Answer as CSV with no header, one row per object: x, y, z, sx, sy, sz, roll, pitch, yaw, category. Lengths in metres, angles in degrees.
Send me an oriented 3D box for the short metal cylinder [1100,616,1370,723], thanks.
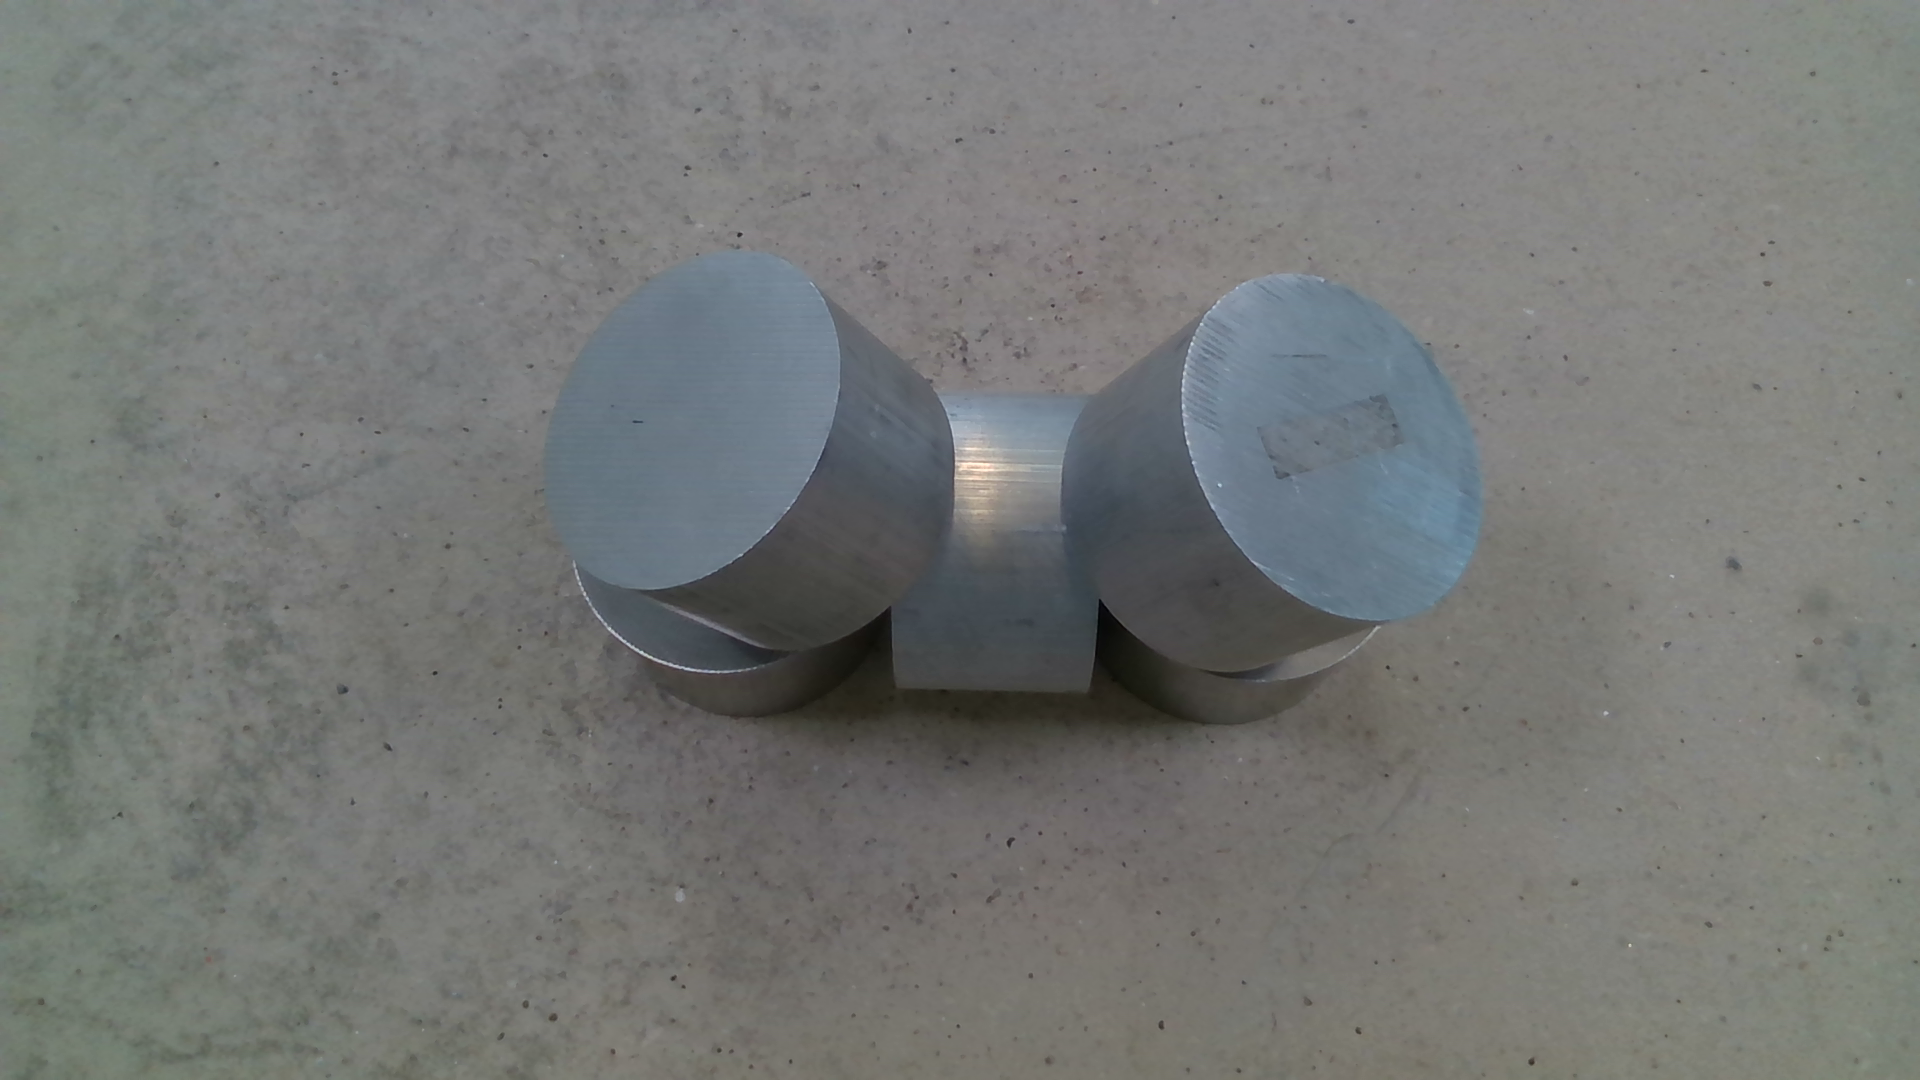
0.075,0.006,0.381,0.080,0.050,0.080,0,70,0,short metal cylinder

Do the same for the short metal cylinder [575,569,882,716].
-0.061,0.004,0.381,0.080,0.050,0.080,0,70,0,short metal cylinder

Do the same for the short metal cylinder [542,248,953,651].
-0.049,-0.019,0.319,0.080,0.050,0.080,-11,67,26,short metal cylinder

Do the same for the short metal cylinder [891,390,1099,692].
0.009,0.000,0.367,0.050,0.080,0.080,1,70,1,short metal cylinder

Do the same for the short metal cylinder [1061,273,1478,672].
0.071,-0.014,0.319,0.080,0.050,0.080,9,69,-24,short metal cylinder
